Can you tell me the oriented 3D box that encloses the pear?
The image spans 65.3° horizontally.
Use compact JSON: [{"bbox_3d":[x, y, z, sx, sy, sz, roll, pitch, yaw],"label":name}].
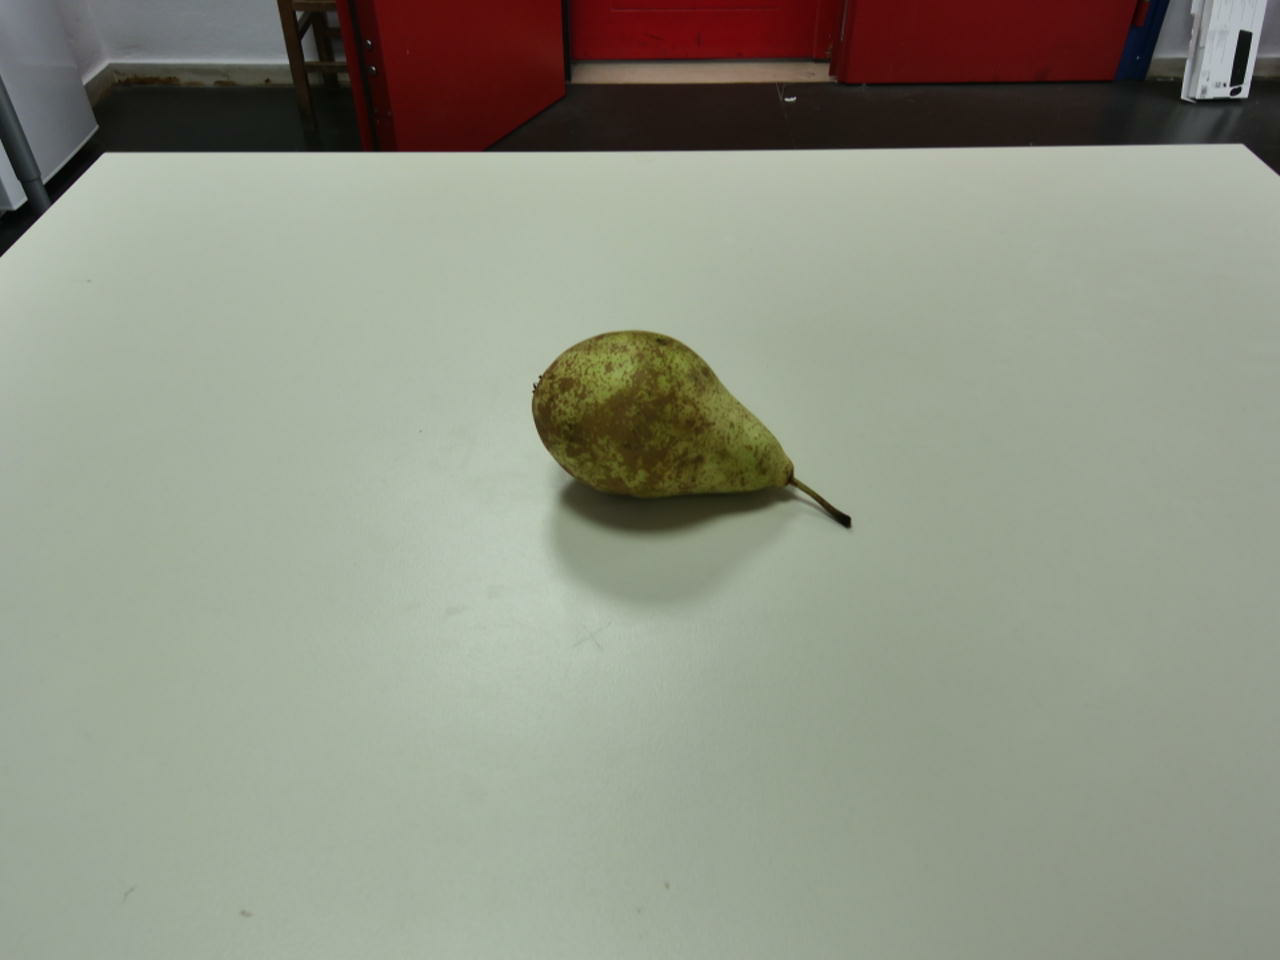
[{"bbox_3d":[0.020,-0.028,0.421,0.128,0.075,0.071,-5,38,-6],"label":"pear"}]
